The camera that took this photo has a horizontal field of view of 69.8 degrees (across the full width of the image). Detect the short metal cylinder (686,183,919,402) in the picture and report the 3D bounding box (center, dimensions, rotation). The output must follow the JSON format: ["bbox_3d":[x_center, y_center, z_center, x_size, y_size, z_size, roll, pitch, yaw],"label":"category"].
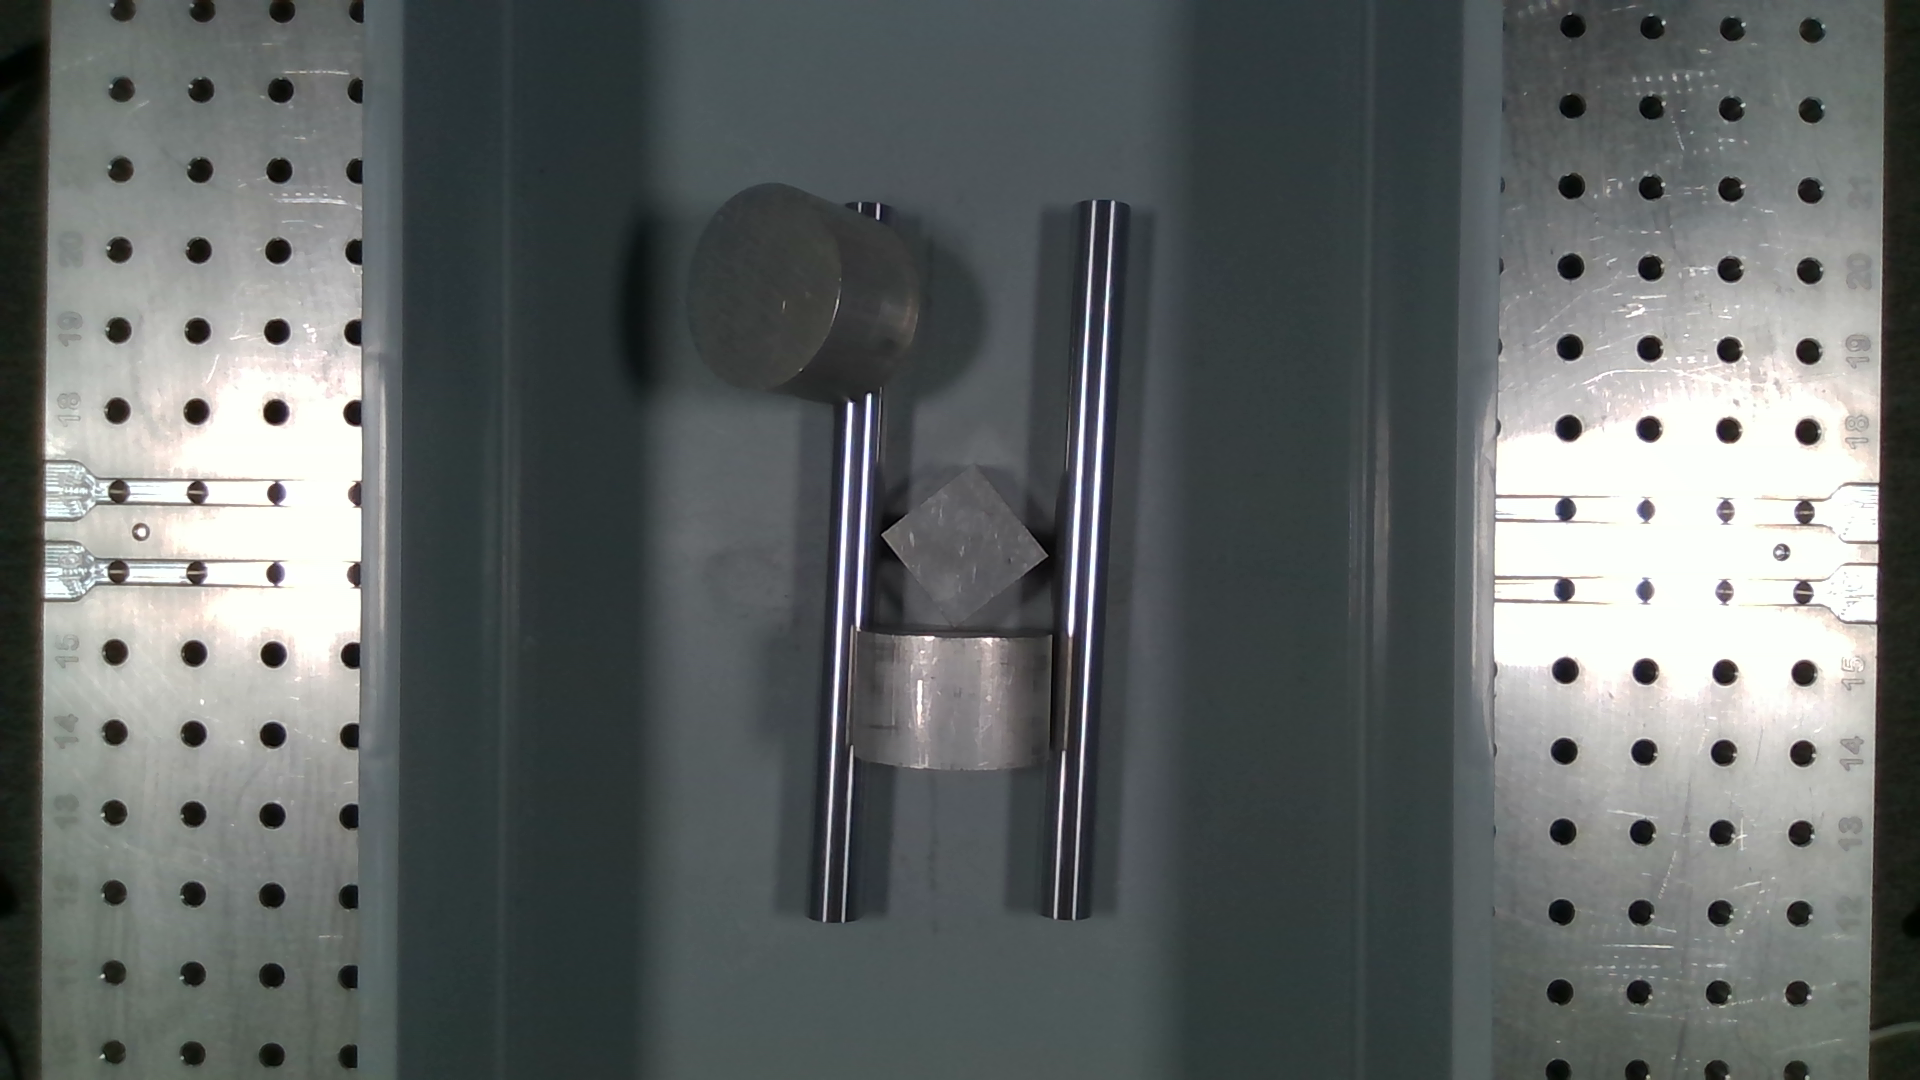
[{"bbox_3d":[-0.064,-0.098,0.555,0.080,0.050,0.080,-1,88,34],"label":"short metal cylinder"}]

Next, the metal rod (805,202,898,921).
[{"bbox_3d":[-0.046,0.009,0.585,0.025,0.025,0.300,3,91,0],"label":"metal rod"}]

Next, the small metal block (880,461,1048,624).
[{"bbox_3d":[0.002,0.002,0.586,0.050,0.025,0.050,-38,90,0],"label":"small metal block"}]

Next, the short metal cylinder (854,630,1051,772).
[{"bbox_3d":[-0.003,0.062,0.559,0.080,0.080,0.050,2,90,0],"label":"short metal cylinder"}]

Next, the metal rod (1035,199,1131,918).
[{"bbox_3d":[0.052,0.008,0.585,0.025,0.025,0.300,3,91,0],"label":"metal rod"}]
